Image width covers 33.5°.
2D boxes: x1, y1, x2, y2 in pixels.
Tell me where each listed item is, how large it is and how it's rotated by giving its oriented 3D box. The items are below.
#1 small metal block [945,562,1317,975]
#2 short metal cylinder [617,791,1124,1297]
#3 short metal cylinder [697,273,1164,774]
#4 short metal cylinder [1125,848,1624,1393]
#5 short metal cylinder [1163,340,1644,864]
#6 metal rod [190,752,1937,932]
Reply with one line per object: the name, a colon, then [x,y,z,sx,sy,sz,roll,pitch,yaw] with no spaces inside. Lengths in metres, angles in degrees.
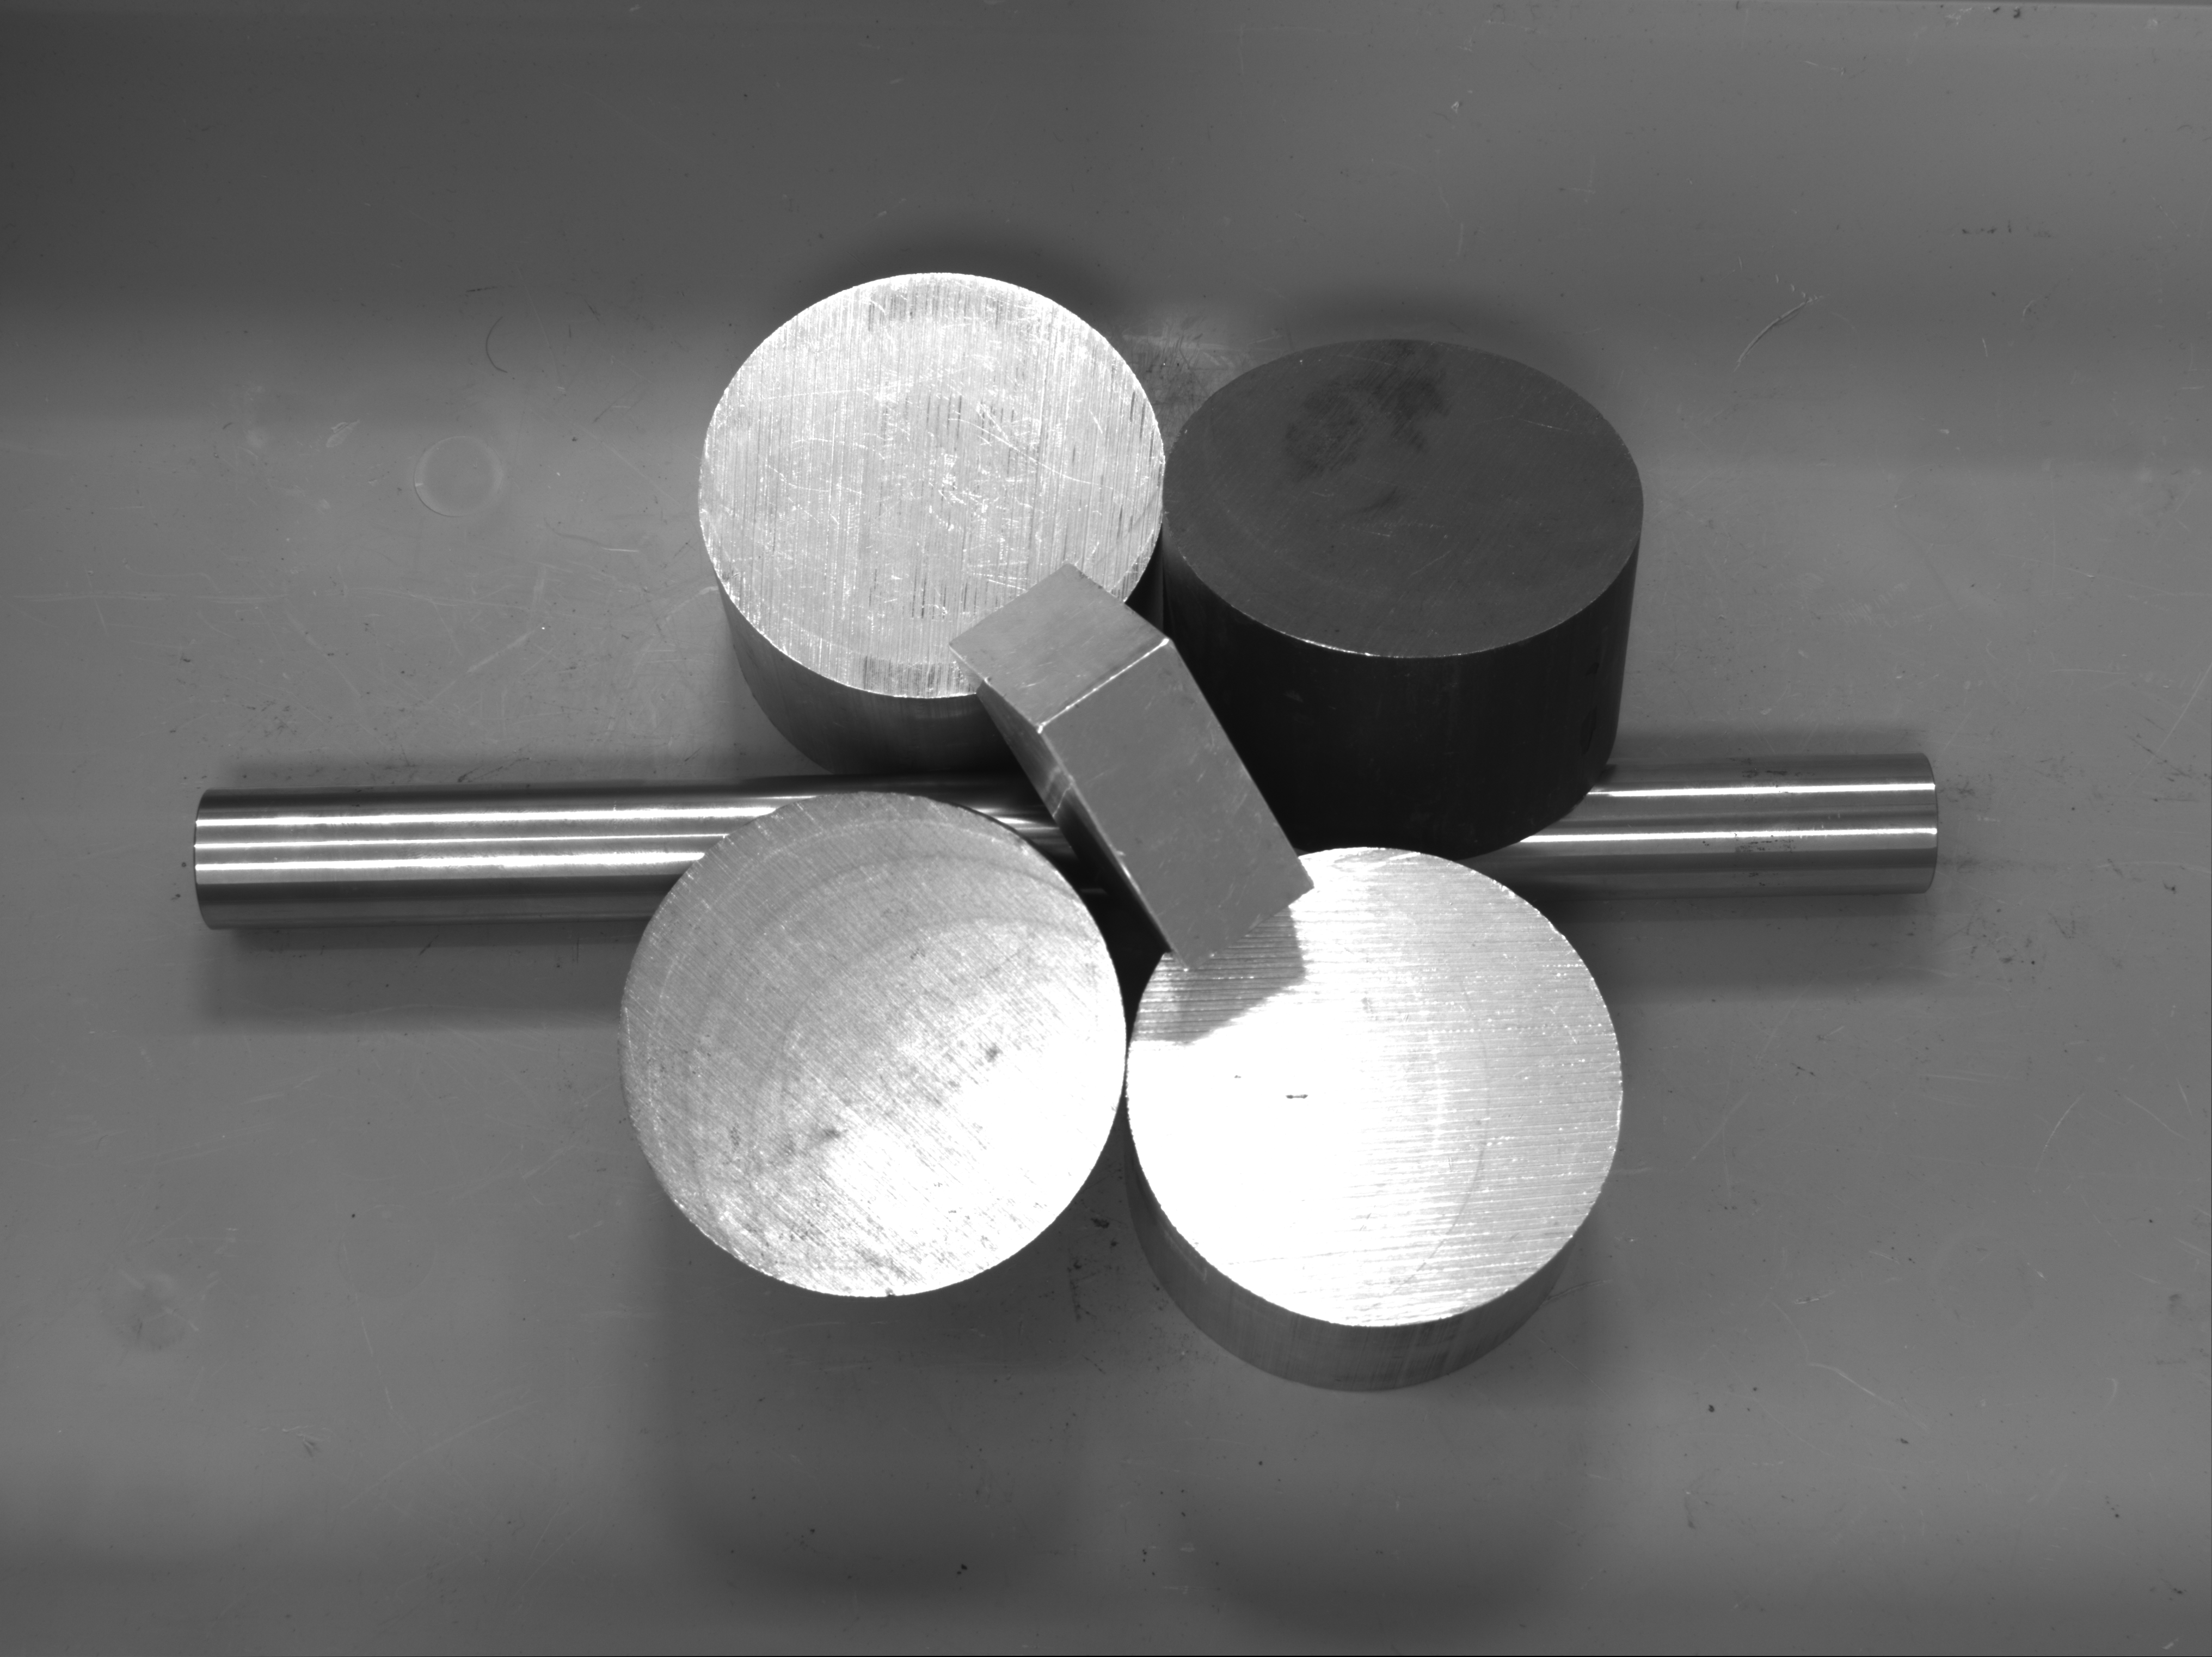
small metal block: [0.004,-0.010,0.597,0.025,0.050,0.050,-35,115,-6]
short metal cylinder: [-0.037,0.034,0.605,0.080,0.050,0.080,0,90,-1]
short metal cylinder: [-0.029,-0.051,0.649,0.080,0.050,0.080,0,70,0]
short metal cylinder: [0.043,0.049,0.613,0.080,0.050,0.080,0,70,0]
short metal cylinder: [0.050,-0.039,0.631,0.080,0.050,0.080,0,47,0]
metal rod: [-0.007,0.002,0.643,0.300,0.025,0.025,-1,70,0]
